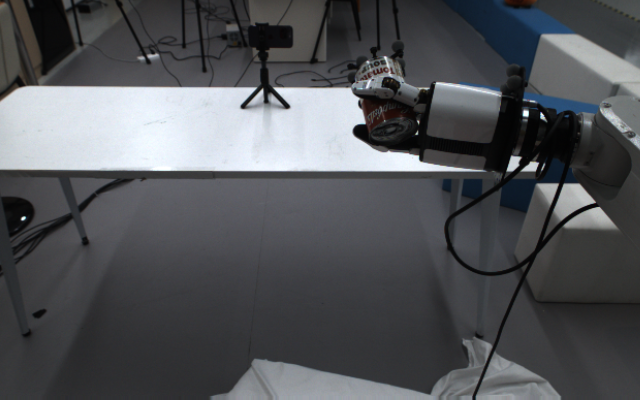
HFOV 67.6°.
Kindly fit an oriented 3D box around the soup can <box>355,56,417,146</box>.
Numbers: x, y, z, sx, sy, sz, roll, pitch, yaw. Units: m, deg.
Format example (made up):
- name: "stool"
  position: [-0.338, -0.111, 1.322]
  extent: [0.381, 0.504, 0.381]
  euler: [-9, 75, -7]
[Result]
- name: "soup can"
  position: [0.090, -0.135, 0.662]
  extent: [0.067, 0.067, 0.101]
  euler: [-6, 67, -12]
